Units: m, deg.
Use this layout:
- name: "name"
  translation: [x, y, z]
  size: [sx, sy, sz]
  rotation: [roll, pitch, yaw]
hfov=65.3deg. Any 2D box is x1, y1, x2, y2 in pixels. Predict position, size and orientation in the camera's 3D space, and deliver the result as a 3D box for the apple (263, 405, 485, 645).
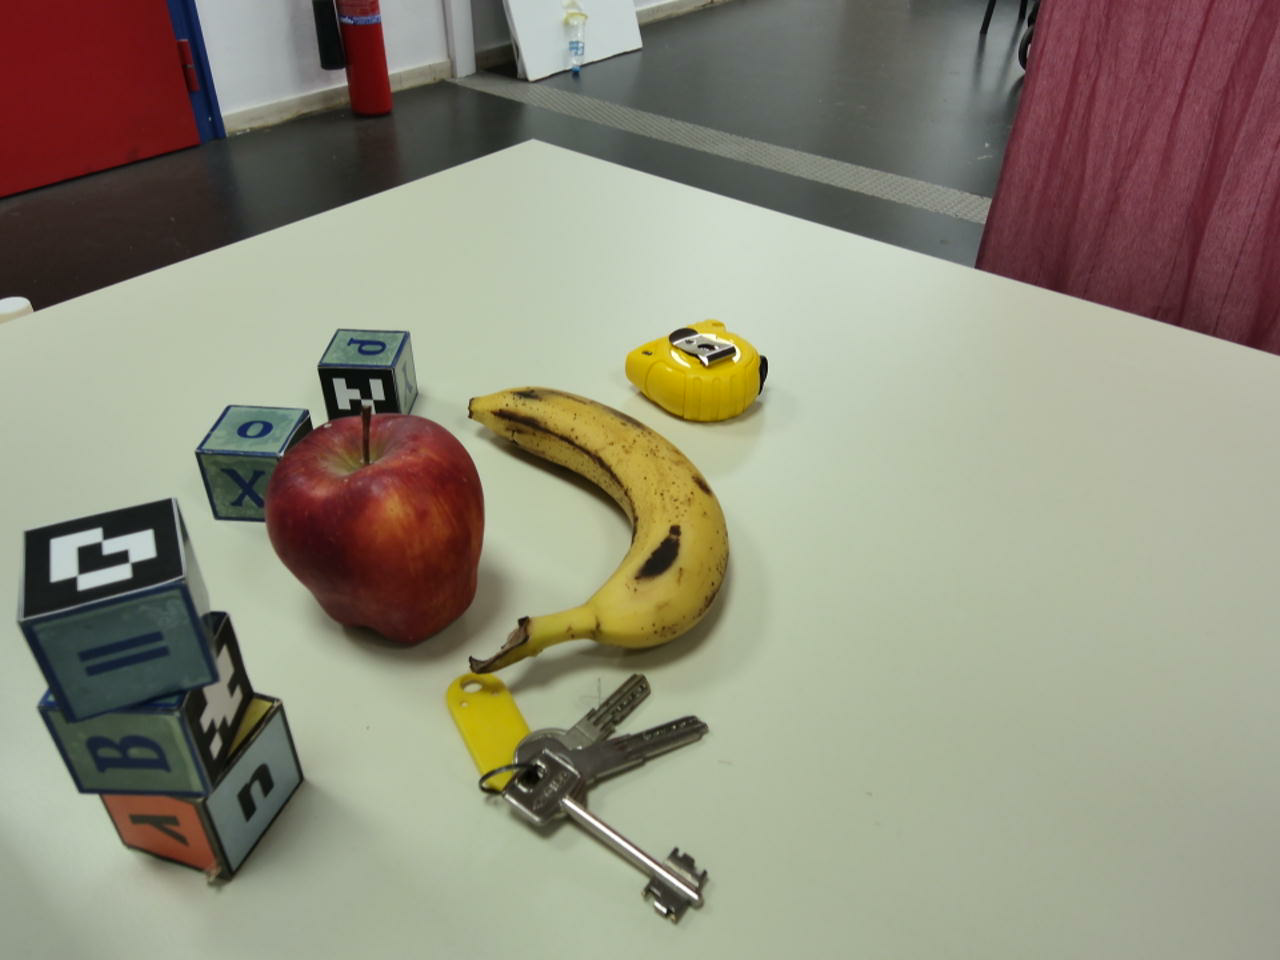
- name: "apple"
  translation: [-0.098, 0.013, 0.376]
  size: [0.083, 0.090, 0.083]
  rotation: [1, 35, 0]
